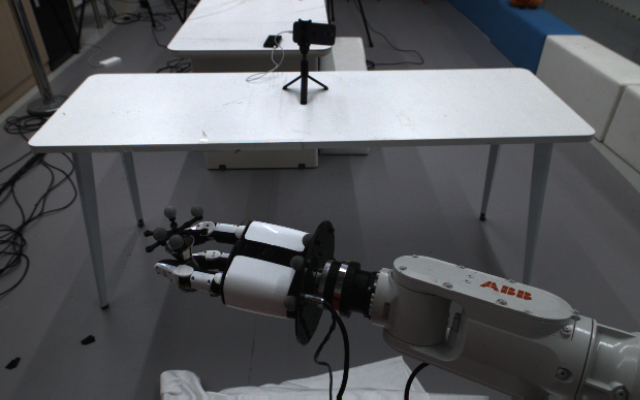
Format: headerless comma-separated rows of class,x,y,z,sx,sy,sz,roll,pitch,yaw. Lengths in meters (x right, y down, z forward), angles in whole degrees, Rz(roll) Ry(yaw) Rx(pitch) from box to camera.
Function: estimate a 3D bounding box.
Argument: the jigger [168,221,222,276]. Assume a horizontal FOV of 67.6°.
jigger,-0.177,0.083,0.658,0.043,0.071,0.043,-8,31,5
